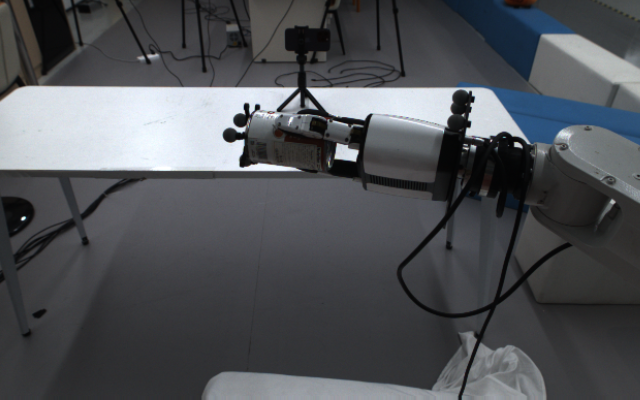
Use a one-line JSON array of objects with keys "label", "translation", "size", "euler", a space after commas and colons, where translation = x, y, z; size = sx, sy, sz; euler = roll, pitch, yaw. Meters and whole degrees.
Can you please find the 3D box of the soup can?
[{"label": "soup can", "translation": [-0.032, -0.074, 0.602], "size": [0.101, 0.067, 0.067], "euler": [7, 35, 10]}]
